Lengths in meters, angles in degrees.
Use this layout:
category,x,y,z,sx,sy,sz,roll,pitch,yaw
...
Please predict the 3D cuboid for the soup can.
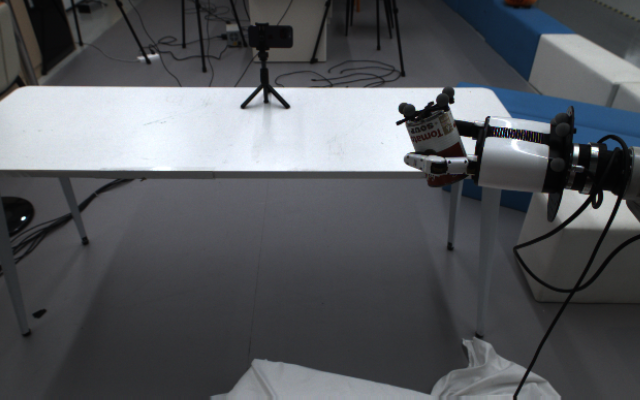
category,x,y,z,sx,sy,sz,roll,pitch,yaw
soup can,0.174,-0.079,0.707,0.067,0.101,0.067,-23,16,7
